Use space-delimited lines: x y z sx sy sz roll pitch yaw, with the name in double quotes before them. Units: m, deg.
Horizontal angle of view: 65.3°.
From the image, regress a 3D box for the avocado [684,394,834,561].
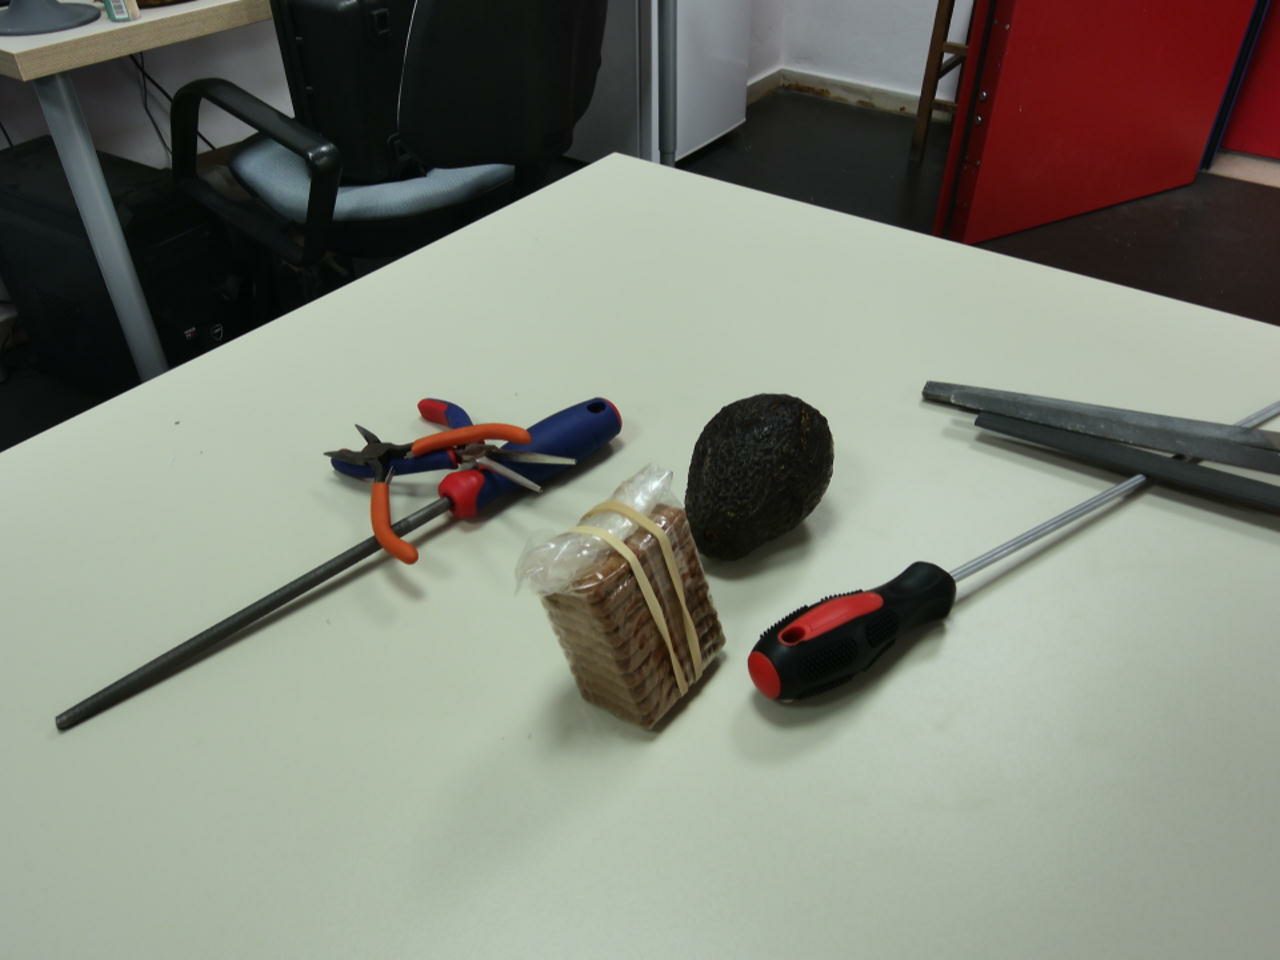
"avocado" 0.057 -0.006 0.510 0.090 0.069 0.070 -18 40 -21
